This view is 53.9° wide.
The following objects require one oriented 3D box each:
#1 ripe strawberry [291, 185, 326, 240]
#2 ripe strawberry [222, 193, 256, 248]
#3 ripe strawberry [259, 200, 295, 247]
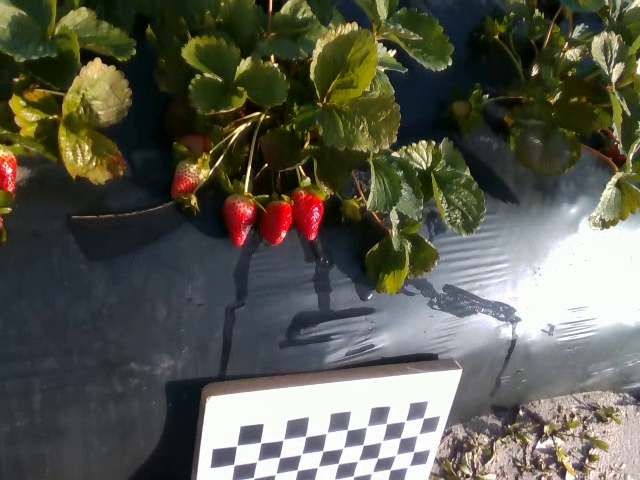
[{"bbox_3d":[-0.010,-0.015,0.522,0.035,0.041,0.034,-4,-25,-19],"label":"ripe strawberry"},{"bbox_3d":[-0.065,-0.016,0.504,0.031,0.046,0.023,0,9,-21],"label":"ripe strawberry"},{"bbox_3d":[-0.036,-0.014,0.508,0.030,0.039,0.037,10,-44,-25],"label":"ripe strawberry"}]
